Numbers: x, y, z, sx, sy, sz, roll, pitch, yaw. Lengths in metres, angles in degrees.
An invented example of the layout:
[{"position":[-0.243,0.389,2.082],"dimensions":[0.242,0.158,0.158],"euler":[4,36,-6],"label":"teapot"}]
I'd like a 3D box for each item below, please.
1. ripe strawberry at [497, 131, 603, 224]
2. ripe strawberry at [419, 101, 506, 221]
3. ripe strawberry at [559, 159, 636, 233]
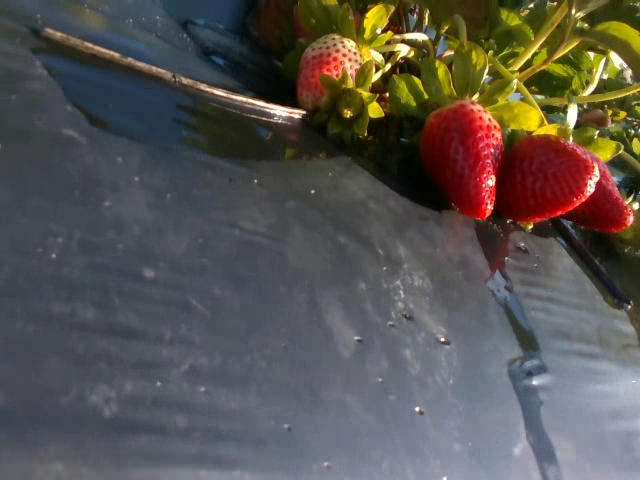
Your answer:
[{"position":[0.077,-0.022,0.209],"dimensions":[0.030,0.037,0.039],"euler":[25,0,-25],"label":"ripe strawberry"},{"position":[0.049,-0.026,0.200],"dimensions":[0.031,0.046,0.023],"euler":[15,-36,-29],"label":"ripe strawberry"},{"position":[0.099,-0.015,0.226],"dimensions":[0.035,0.034,0.041],"euler":[10,20,-31],"label":"ripe strawberry"}]
